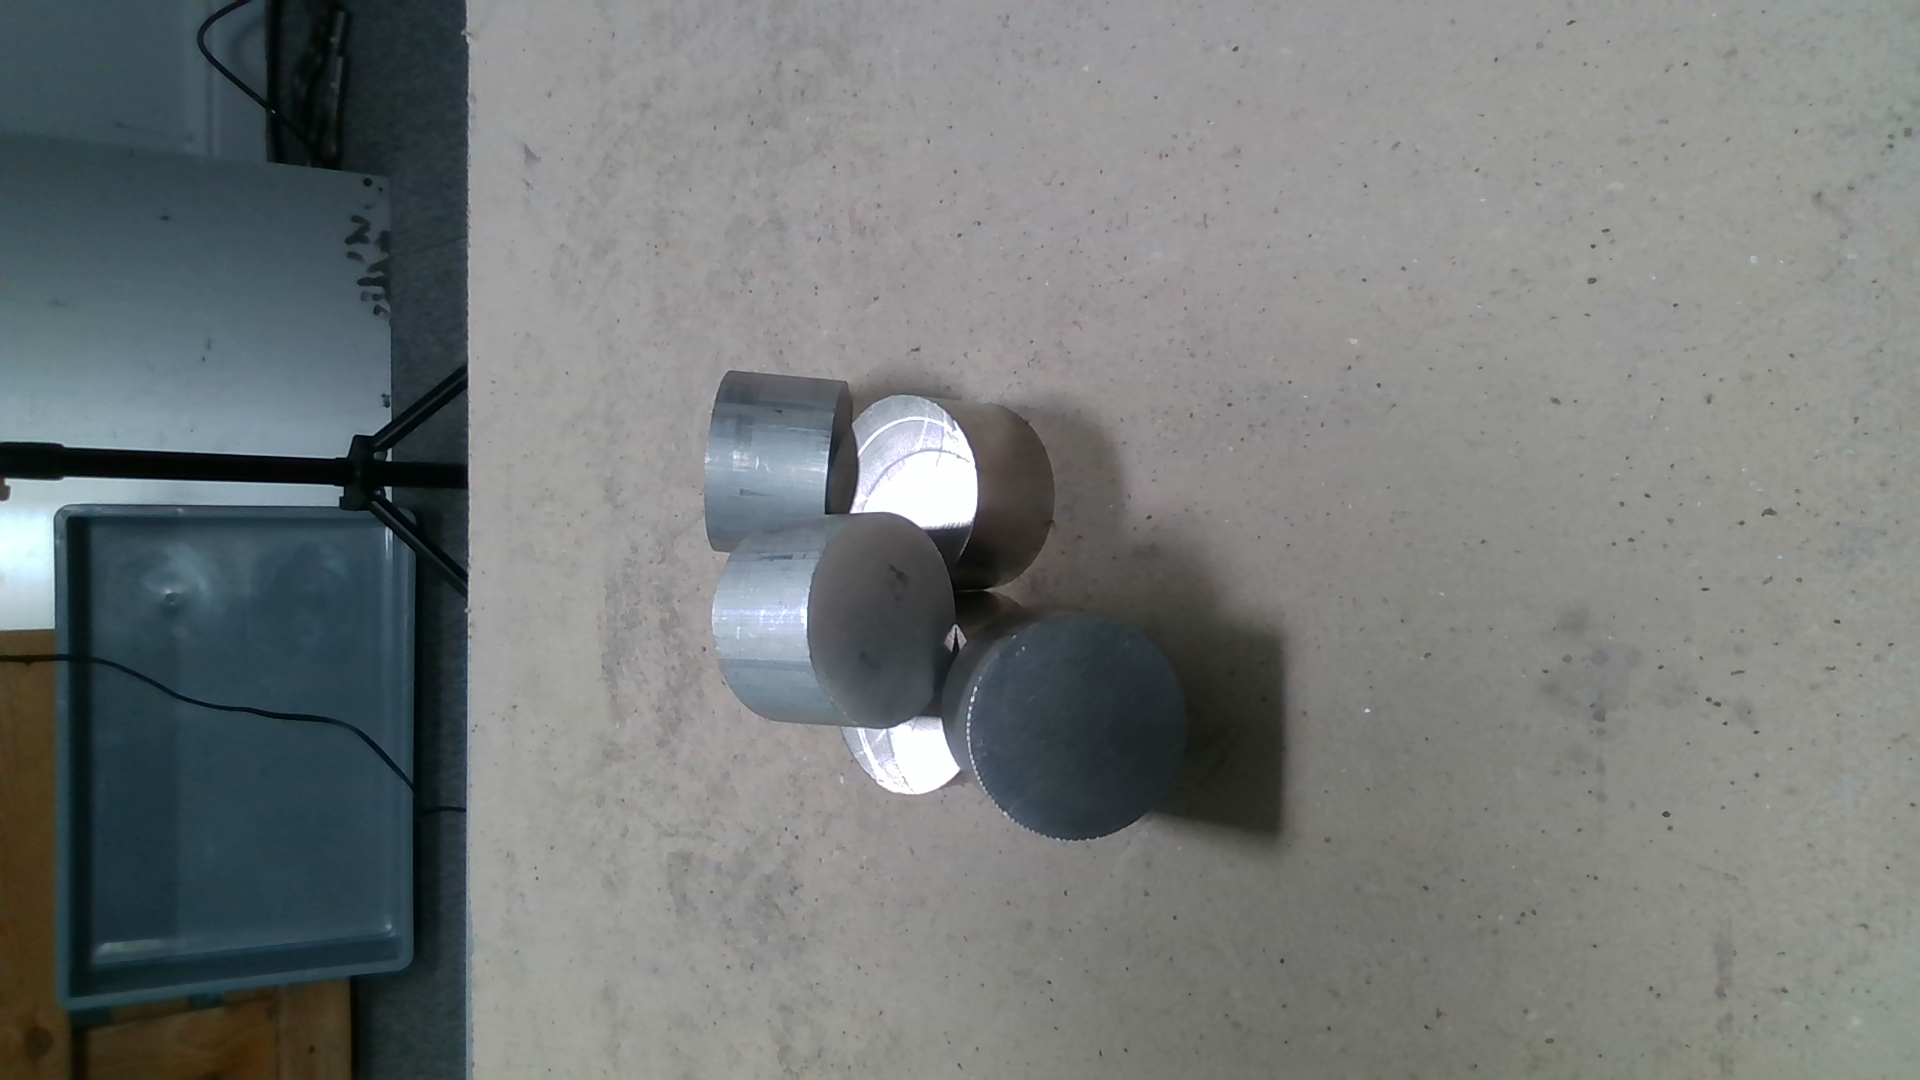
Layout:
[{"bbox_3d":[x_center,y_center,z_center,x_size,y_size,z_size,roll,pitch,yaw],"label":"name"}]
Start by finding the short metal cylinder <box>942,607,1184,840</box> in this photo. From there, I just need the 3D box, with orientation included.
[{"bbox_3d":[0.036,0.065,0.507,0.050,0.080,0.080,-176,86,-78],"label":"short metal cylinder"}]

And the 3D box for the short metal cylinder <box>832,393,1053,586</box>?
[{"bbox_3d":[-0.008,-0.019,0.572,0.080,0.050,0.080,0,91,40],"label":"short metal cylinder"}]

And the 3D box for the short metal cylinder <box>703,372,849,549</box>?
[{"bbox_3d":[-0.079,-0.033,0.604,0.050,0.080,0.080,5,95,1],"label":"short metal cylinder"}]

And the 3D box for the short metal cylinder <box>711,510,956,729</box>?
[{"bbox_3d":[-0.047,0.030,0.520,0.050,0.080,0.080,-2,89,40],"label":"short metal cylinder"}]

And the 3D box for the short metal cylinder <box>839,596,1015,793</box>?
[{"bbox_3d":[-0.007,0.061,0.572,0.080,0.050,0.080,0,91,40],"label":"short metal cylinder"}]
